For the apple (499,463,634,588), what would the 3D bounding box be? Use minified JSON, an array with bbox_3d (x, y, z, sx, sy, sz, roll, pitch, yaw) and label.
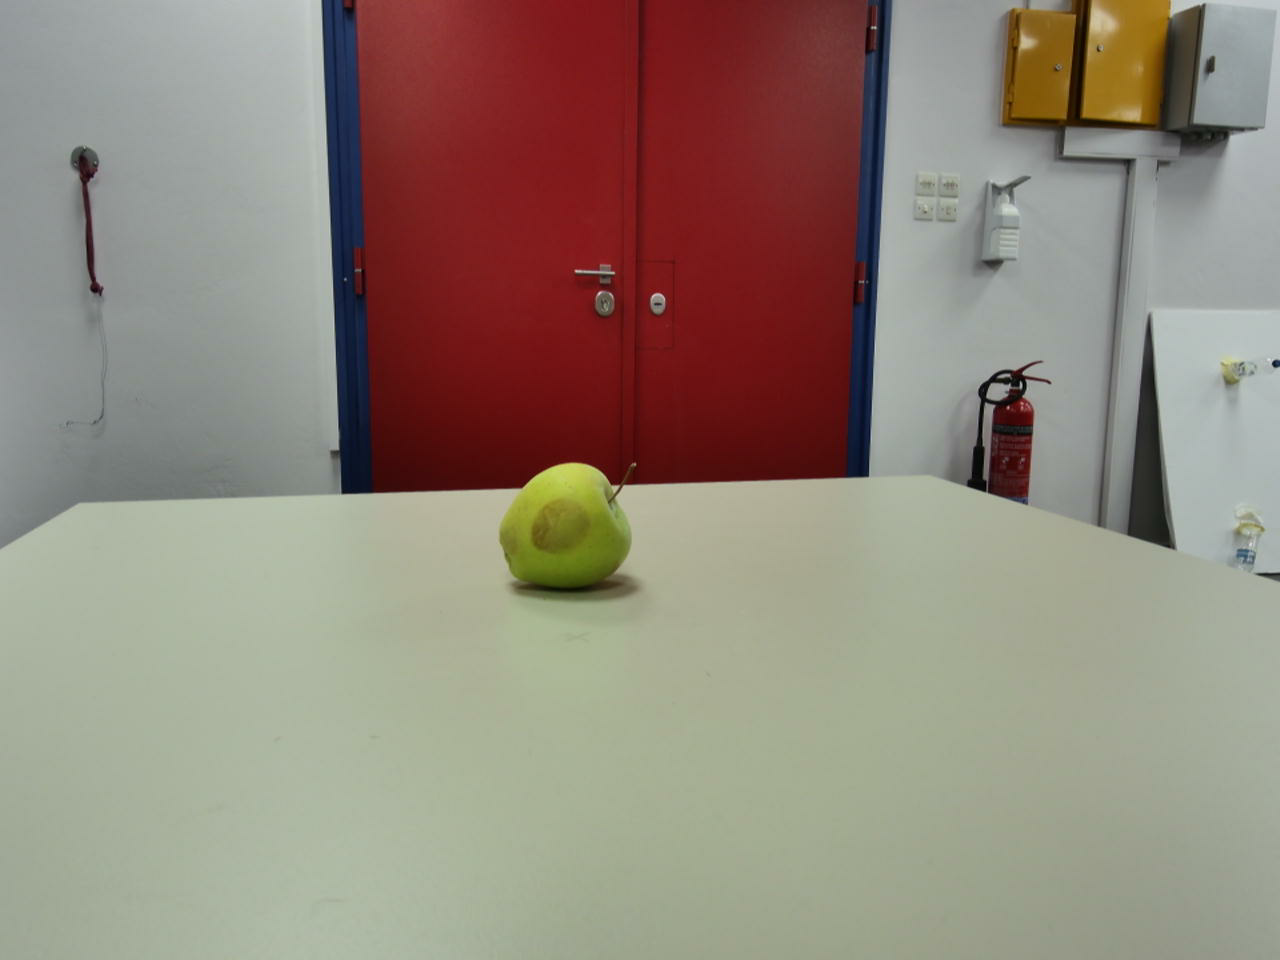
[{"bbox_3d":[-0.044,0.027,0.608,0.077,0.075,0.072,6,9,31],"label":"apple"}]
